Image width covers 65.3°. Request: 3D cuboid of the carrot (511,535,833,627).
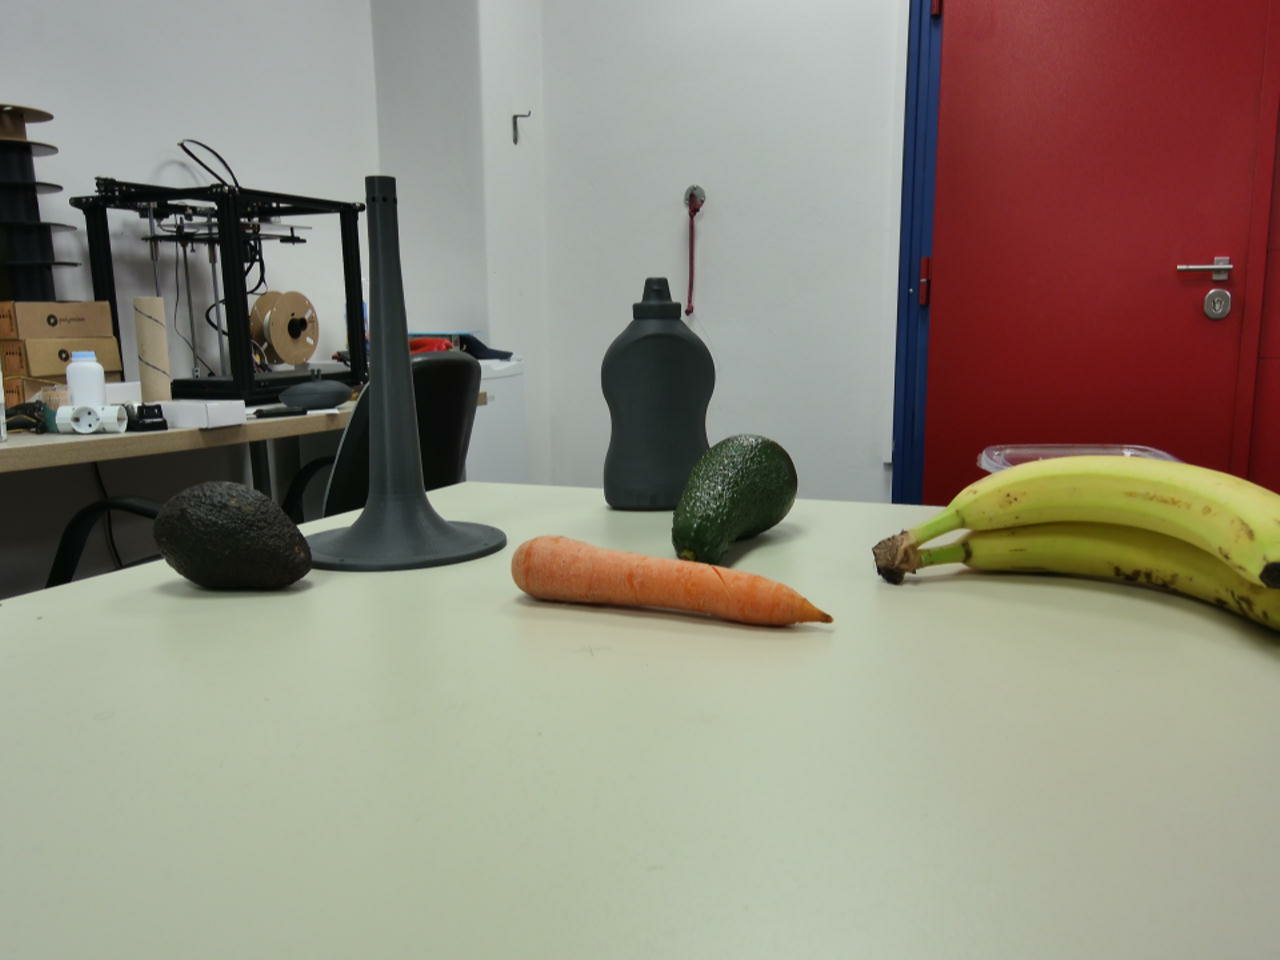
[{"bbox_3d":[0.014,0.057,0.576,0.196,0.041,0.039,3,7,23],"label":"carrot"}]
